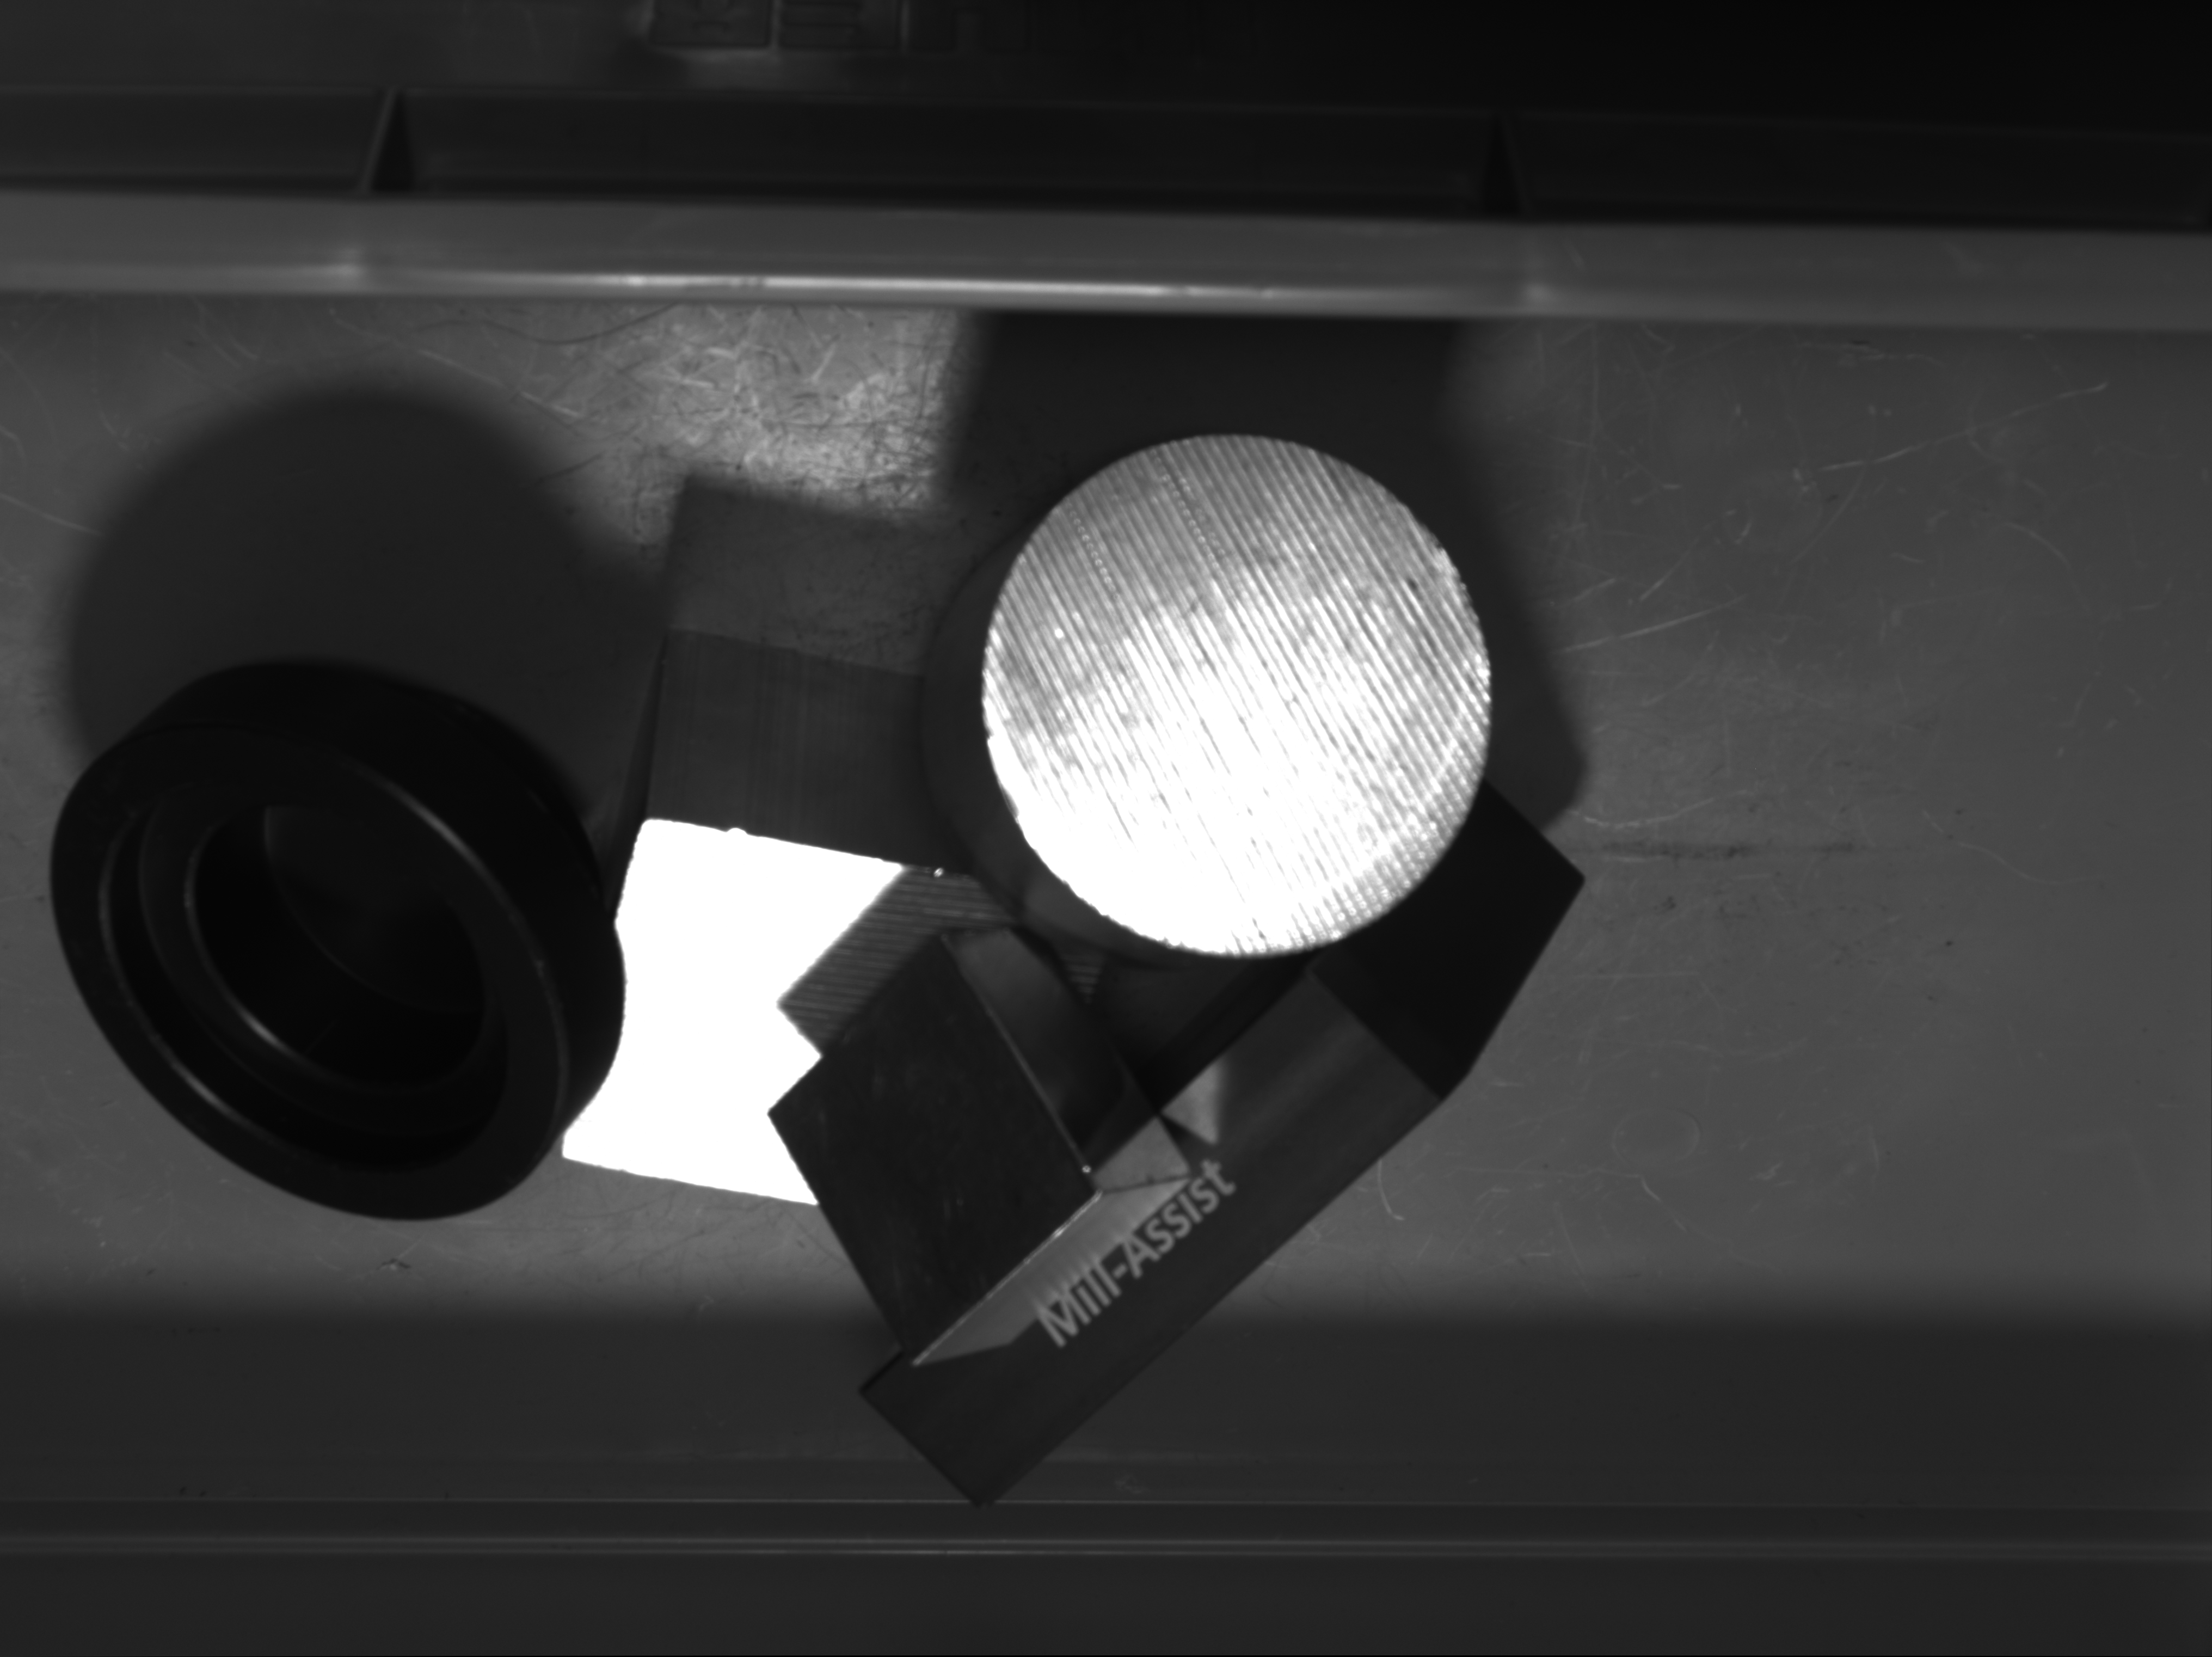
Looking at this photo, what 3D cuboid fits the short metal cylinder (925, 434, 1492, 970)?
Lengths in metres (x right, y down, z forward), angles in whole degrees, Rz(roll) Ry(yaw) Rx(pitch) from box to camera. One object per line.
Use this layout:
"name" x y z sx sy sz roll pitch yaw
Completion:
"short metal cylinder" 0.015 -0.018 0.578 0.080 0.080 0.050 13 173 -12

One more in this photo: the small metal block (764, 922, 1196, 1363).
"small metal block" -0.021 0.050 0.595 0.050 0.050 0.025 -44 156 30

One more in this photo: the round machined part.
"round machined part" -0.124 0.015 0.619 0.098 0.042 0.098 12 126 18

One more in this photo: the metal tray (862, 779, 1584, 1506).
"metal tray" 0.021 0.053 0.638 0.030 0.090 0.130 44 120 0

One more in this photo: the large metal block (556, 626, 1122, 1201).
"large metal block" -0.046 0.019 0.635 0.080 0.050 0.080 11 129 -11
